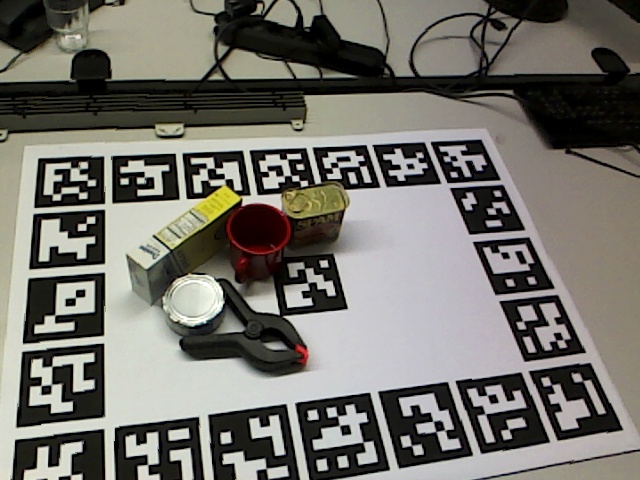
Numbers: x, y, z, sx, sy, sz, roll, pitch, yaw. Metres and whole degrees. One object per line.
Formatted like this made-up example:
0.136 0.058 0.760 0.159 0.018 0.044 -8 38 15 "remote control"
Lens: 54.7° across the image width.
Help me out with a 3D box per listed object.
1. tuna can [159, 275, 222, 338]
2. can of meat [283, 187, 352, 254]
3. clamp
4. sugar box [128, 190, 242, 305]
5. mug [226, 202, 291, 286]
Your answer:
-0.180 0.094 0.861 0.085 0.033 0.086 4 56 -7 "tuna can"
-0.009 -0.029 0.958 0.101 0.083 0.058 -11 56 -19 "can of meat"
-0.095 0.137 0.851 0.165 0.036 0.122 27 50 5 "clamp"
-0.189 0.010 0.893 0.045 0.093 0.176 38 55 19 "sugar box"
-0.096 0.014 0.902 0.093 0.081 0.117 17 55 2 "mug"
